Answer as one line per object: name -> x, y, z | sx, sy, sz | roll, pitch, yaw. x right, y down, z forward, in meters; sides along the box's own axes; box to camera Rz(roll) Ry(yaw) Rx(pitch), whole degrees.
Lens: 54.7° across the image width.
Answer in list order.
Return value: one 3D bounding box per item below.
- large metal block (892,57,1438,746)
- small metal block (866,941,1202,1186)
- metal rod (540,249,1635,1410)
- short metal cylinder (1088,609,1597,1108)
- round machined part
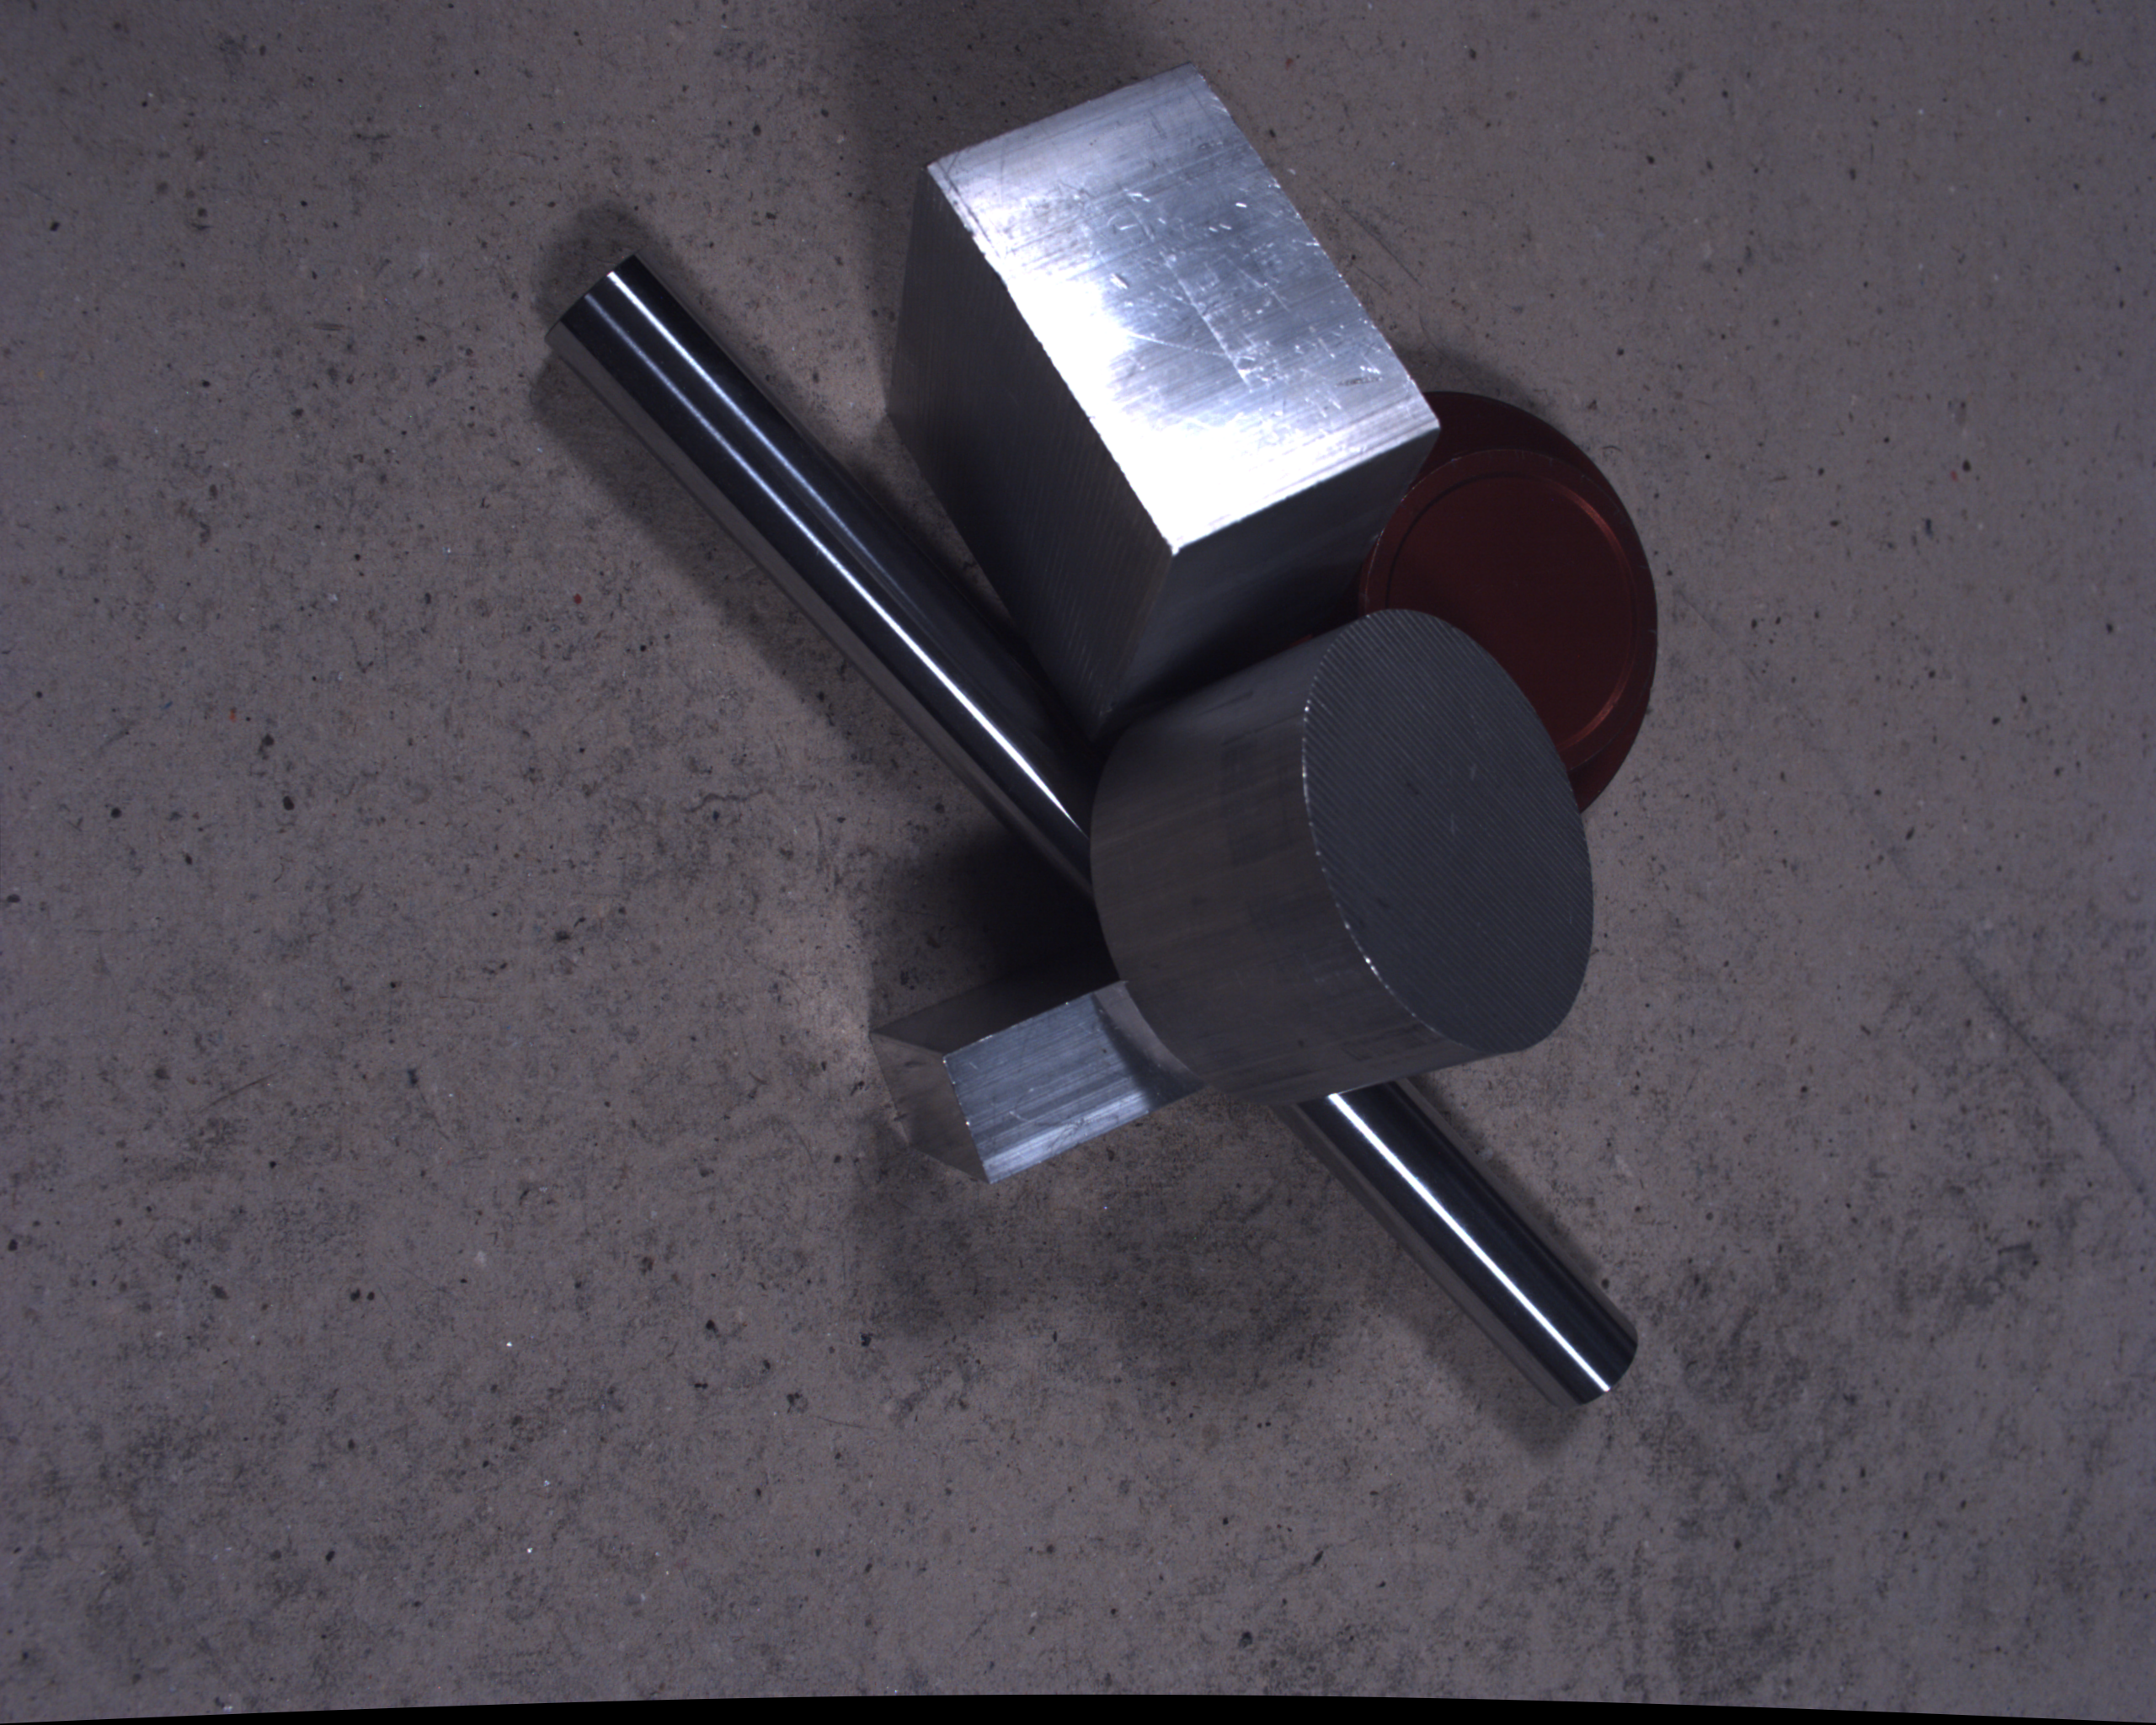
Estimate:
large metal block -> 0.010, -0.079, 0.374 | 0.050, 0.080, 0.080 | -28, 78, -17
small metal block -> -0.007, 0.036, 0.396 | 0.050, 0.050, 0.025 | -23, 97, -19
metal rod -> 0.011, 0.003, 0.416 | 0.025, 0.025, 0.300 | -47, 105, -14
short metal cylinder -> 0.049, 0.000, 0.376 | 0.080, 0.050, 0.080 | 18, 62, -38
round machined part -> 0.080, -0.049, 0.431 | 0.099, 0.042, 0.097 | 0, 90, -21
